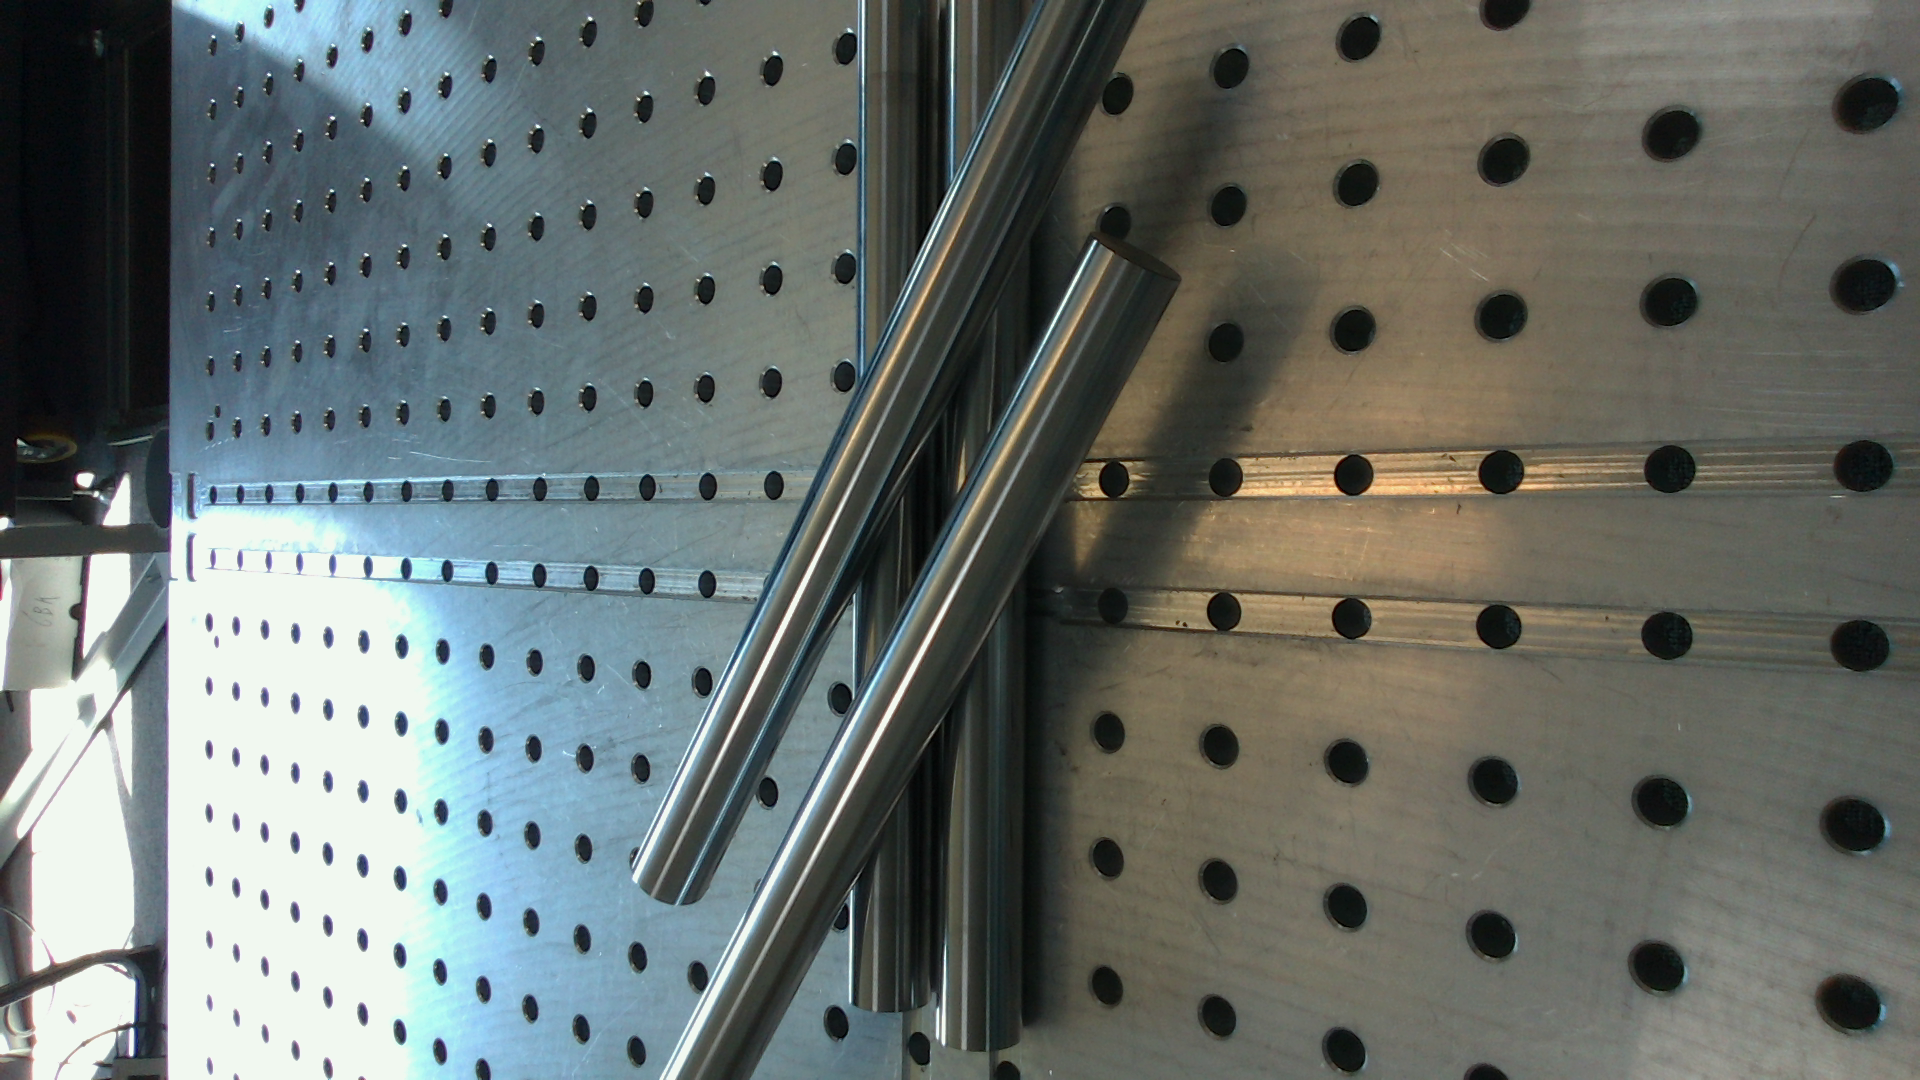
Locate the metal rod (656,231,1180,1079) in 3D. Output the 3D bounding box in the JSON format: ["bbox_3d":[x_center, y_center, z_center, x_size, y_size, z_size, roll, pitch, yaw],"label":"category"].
[{"bbox_3d":[-0.023,0.056,0.384,0.025,0.025,0.300,41,115,32],"label":"metal rod"}]

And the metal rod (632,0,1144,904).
[{"bbox_3d":[-0.030,-0.015,0.391,0.025,0.025,0.300,42,115,32],"label":"metal rod"}]

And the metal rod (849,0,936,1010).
[{"bbox_3d":[-0.020,-0.012,0.415,0.025,0.025,0.300,1,91,40],"label":"metal rod"}]

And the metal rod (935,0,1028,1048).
[{"bbox_3d":[0.006,-0.009,0.393,0.025,0.025,0.300,1,91,40],"label":"metal rod"}]
